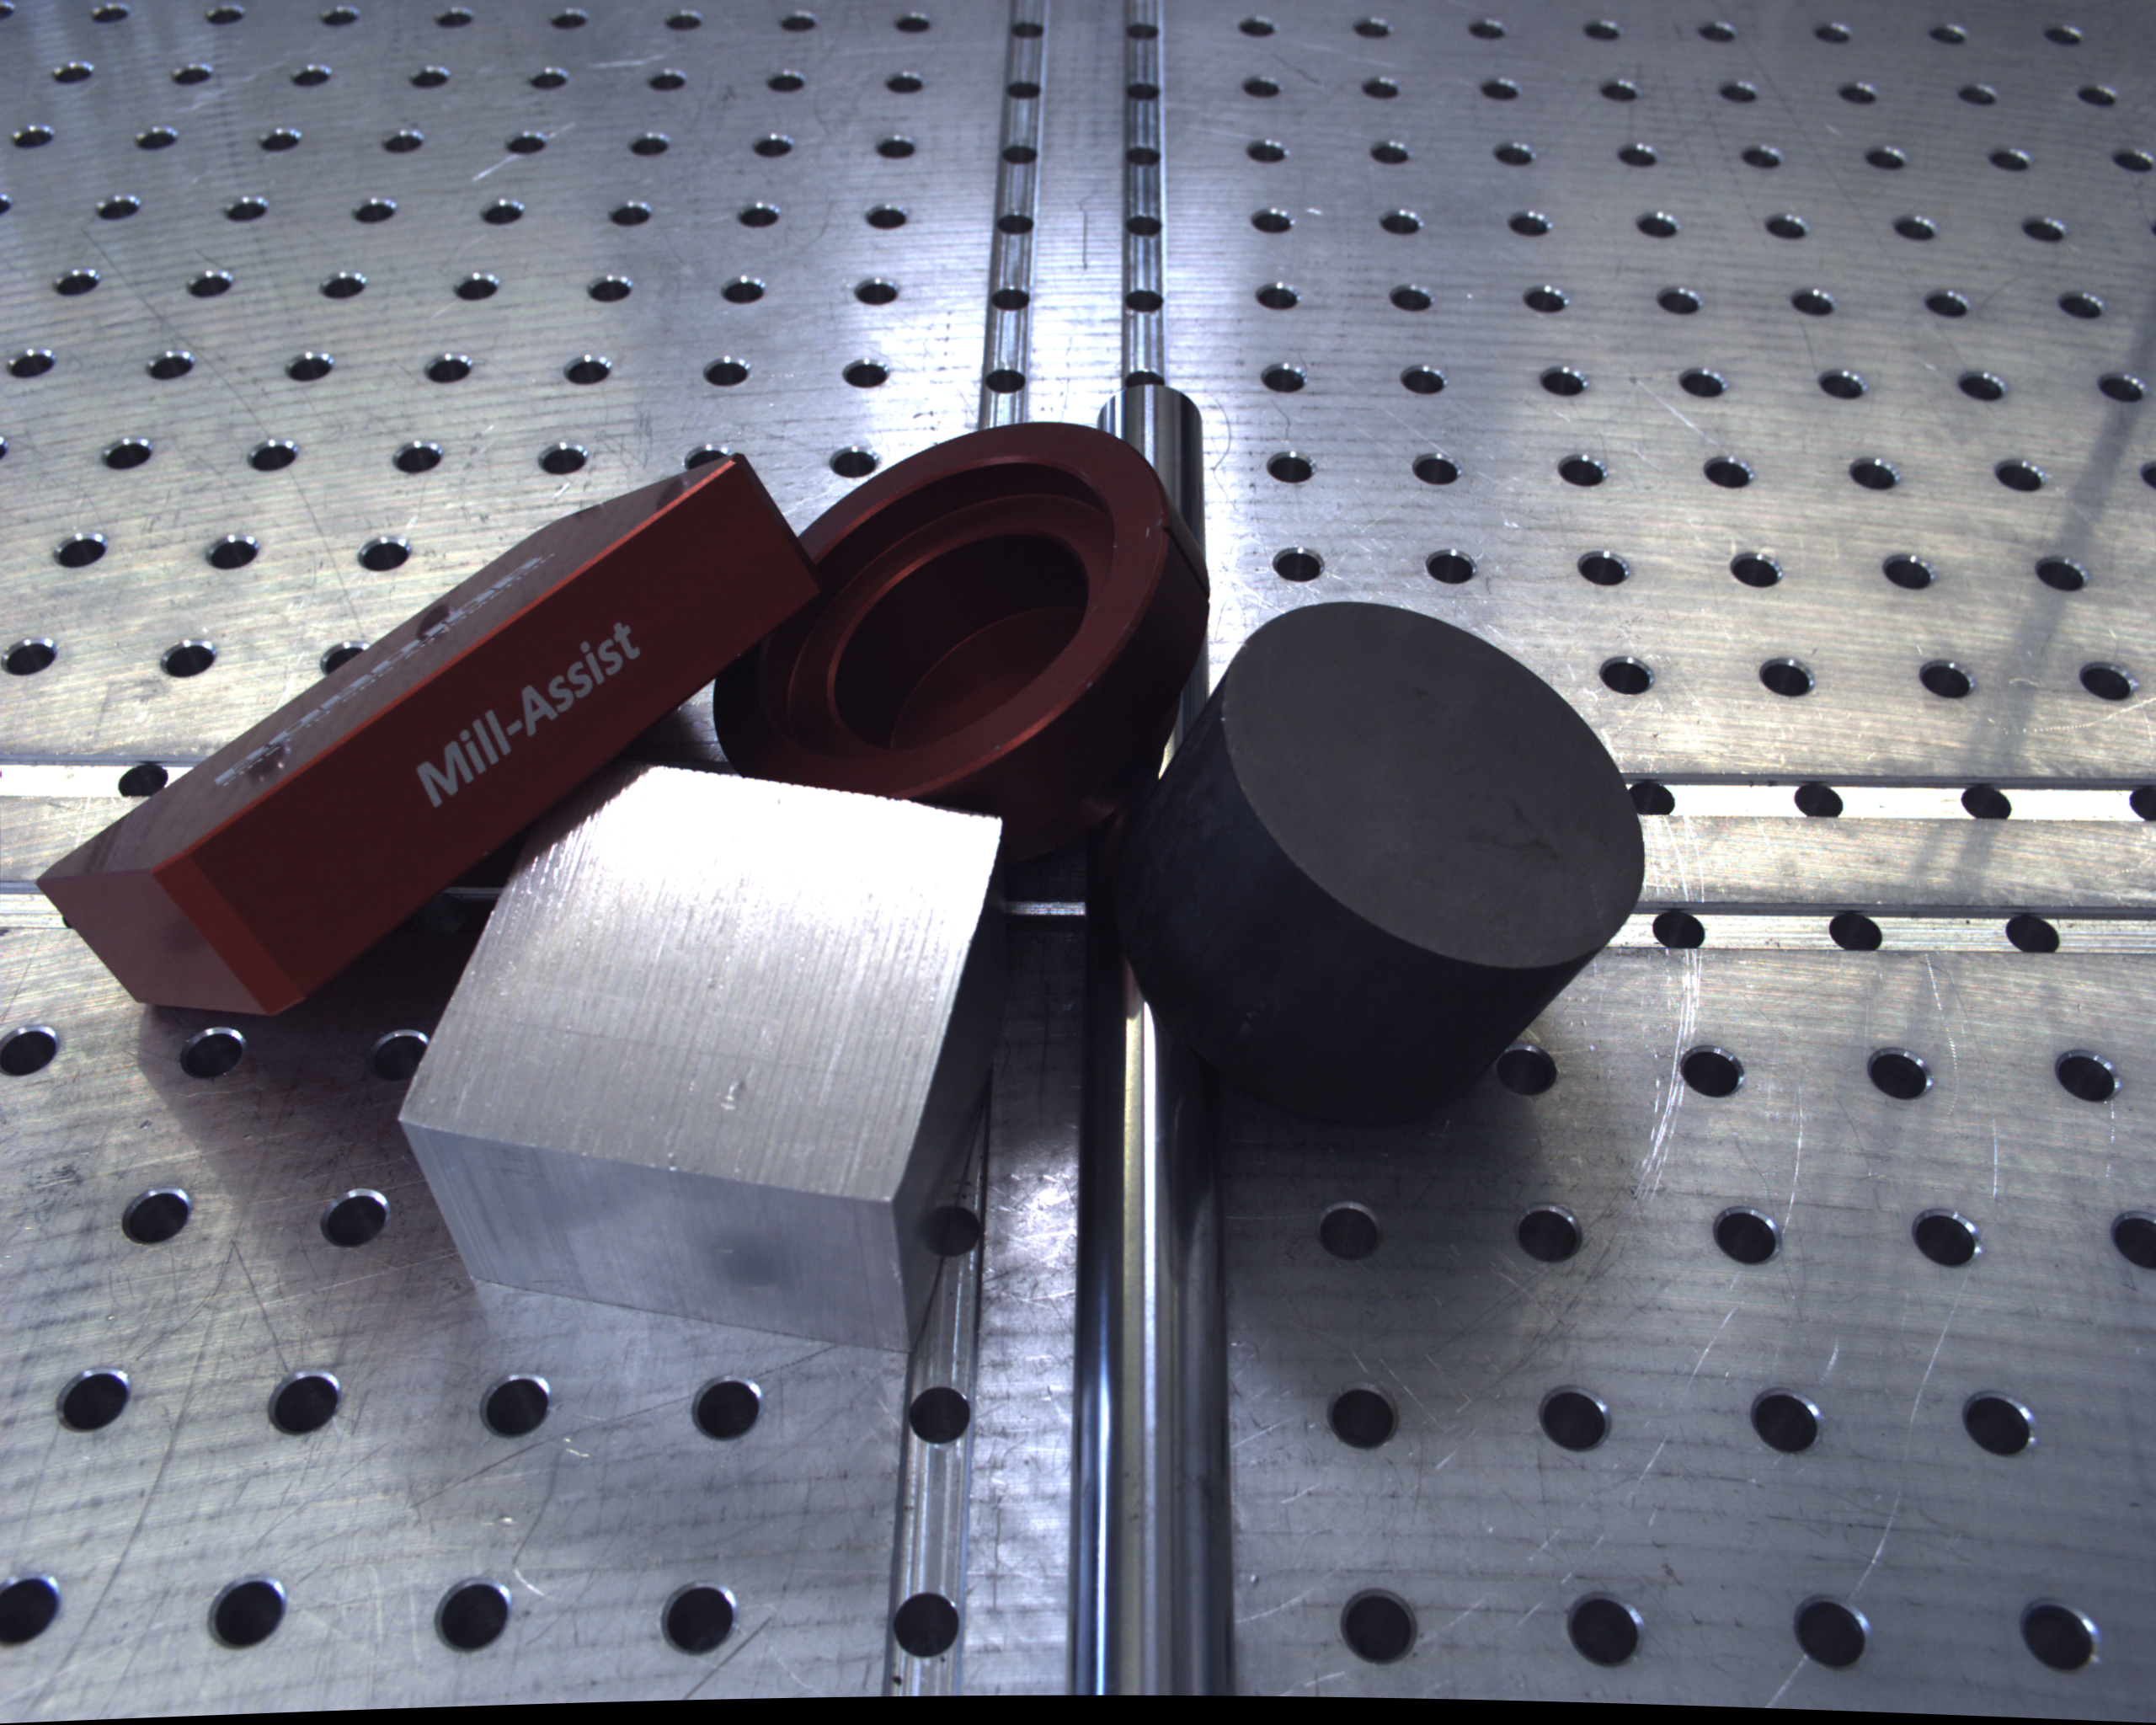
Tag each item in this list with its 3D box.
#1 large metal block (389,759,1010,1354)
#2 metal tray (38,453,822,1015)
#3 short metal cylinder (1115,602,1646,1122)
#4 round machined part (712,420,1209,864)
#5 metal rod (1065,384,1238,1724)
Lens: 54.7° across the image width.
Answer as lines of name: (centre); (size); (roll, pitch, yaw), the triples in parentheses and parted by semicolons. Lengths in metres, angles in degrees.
large metal block: (-0.060, 0.032, 0.364); (0.080, 0.050, 0.080); (8, 51, 6)
metal tray: (-0.121, -0.025, 0.392); (0.131, 0.030, 0.090); (-44, 24, -30)
short metal cylinder: (0.053, -0.001, 0.375); (0.081, 0.050, 0.080); (13, 48, -15)
round machined part: (-0.019, -0.038, 0.412); (0.098, 0.042, 0.098); (-17, 46, 19)
metal rod: (0.014, 0.011, 0.399); (0.025, 0.025, 0.300); (1, 50, 1)
